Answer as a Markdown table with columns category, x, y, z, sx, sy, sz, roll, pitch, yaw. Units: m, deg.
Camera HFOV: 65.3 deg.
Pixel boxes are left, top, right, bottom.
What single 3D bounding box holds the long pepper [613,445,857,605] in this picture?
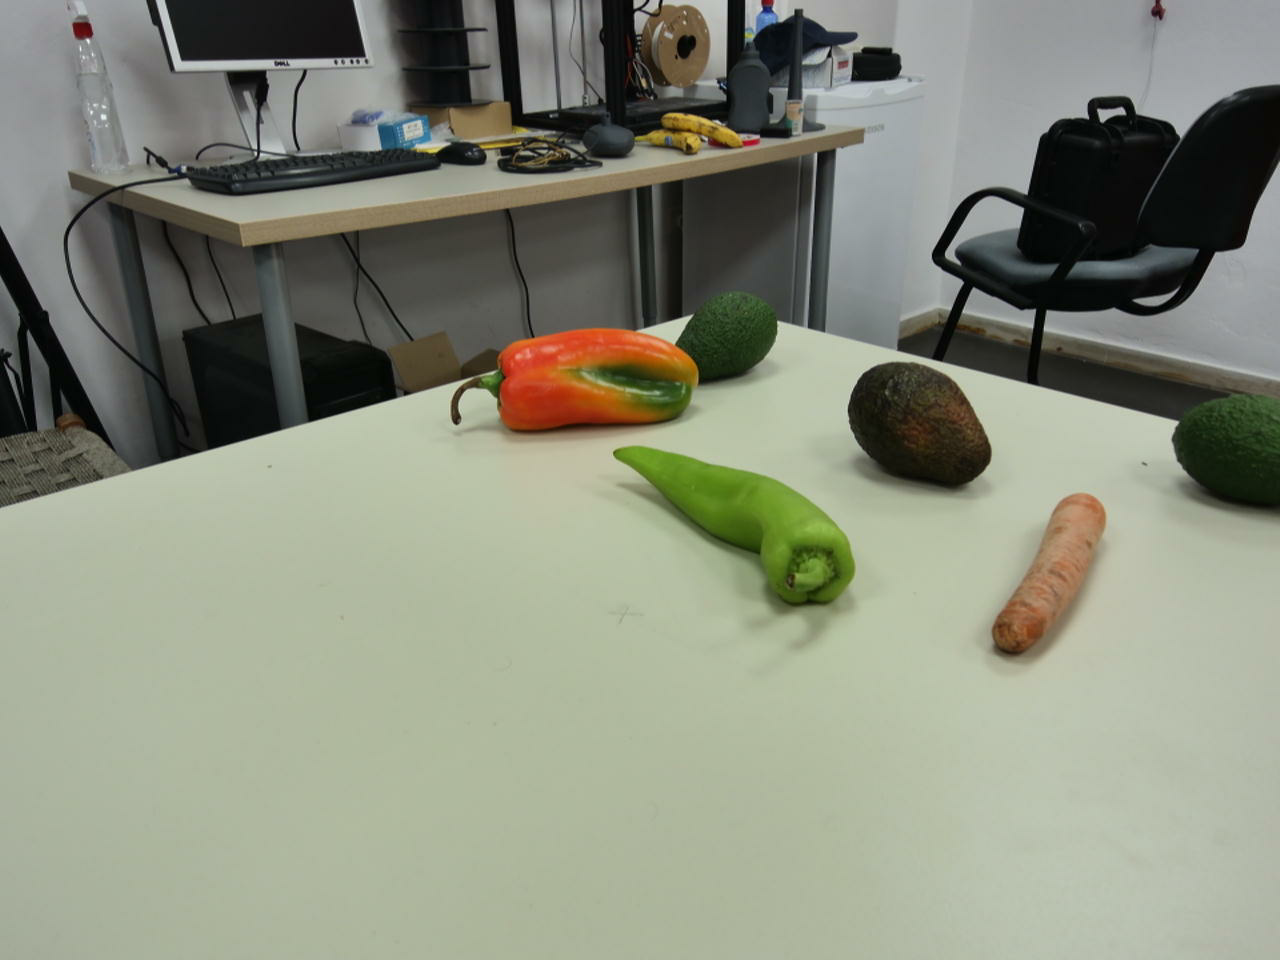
| category | x | y | z | sx | sy | sz | roll | pitch | yaw |
| --- | --- | --- | --- | --- | --- | --- | --- | --- | --- |
| long pepper | 0.055 | 0.015 | 0.561 | 0.065 | 0.045 | 0.204 | -10 | 26 | -23 |
